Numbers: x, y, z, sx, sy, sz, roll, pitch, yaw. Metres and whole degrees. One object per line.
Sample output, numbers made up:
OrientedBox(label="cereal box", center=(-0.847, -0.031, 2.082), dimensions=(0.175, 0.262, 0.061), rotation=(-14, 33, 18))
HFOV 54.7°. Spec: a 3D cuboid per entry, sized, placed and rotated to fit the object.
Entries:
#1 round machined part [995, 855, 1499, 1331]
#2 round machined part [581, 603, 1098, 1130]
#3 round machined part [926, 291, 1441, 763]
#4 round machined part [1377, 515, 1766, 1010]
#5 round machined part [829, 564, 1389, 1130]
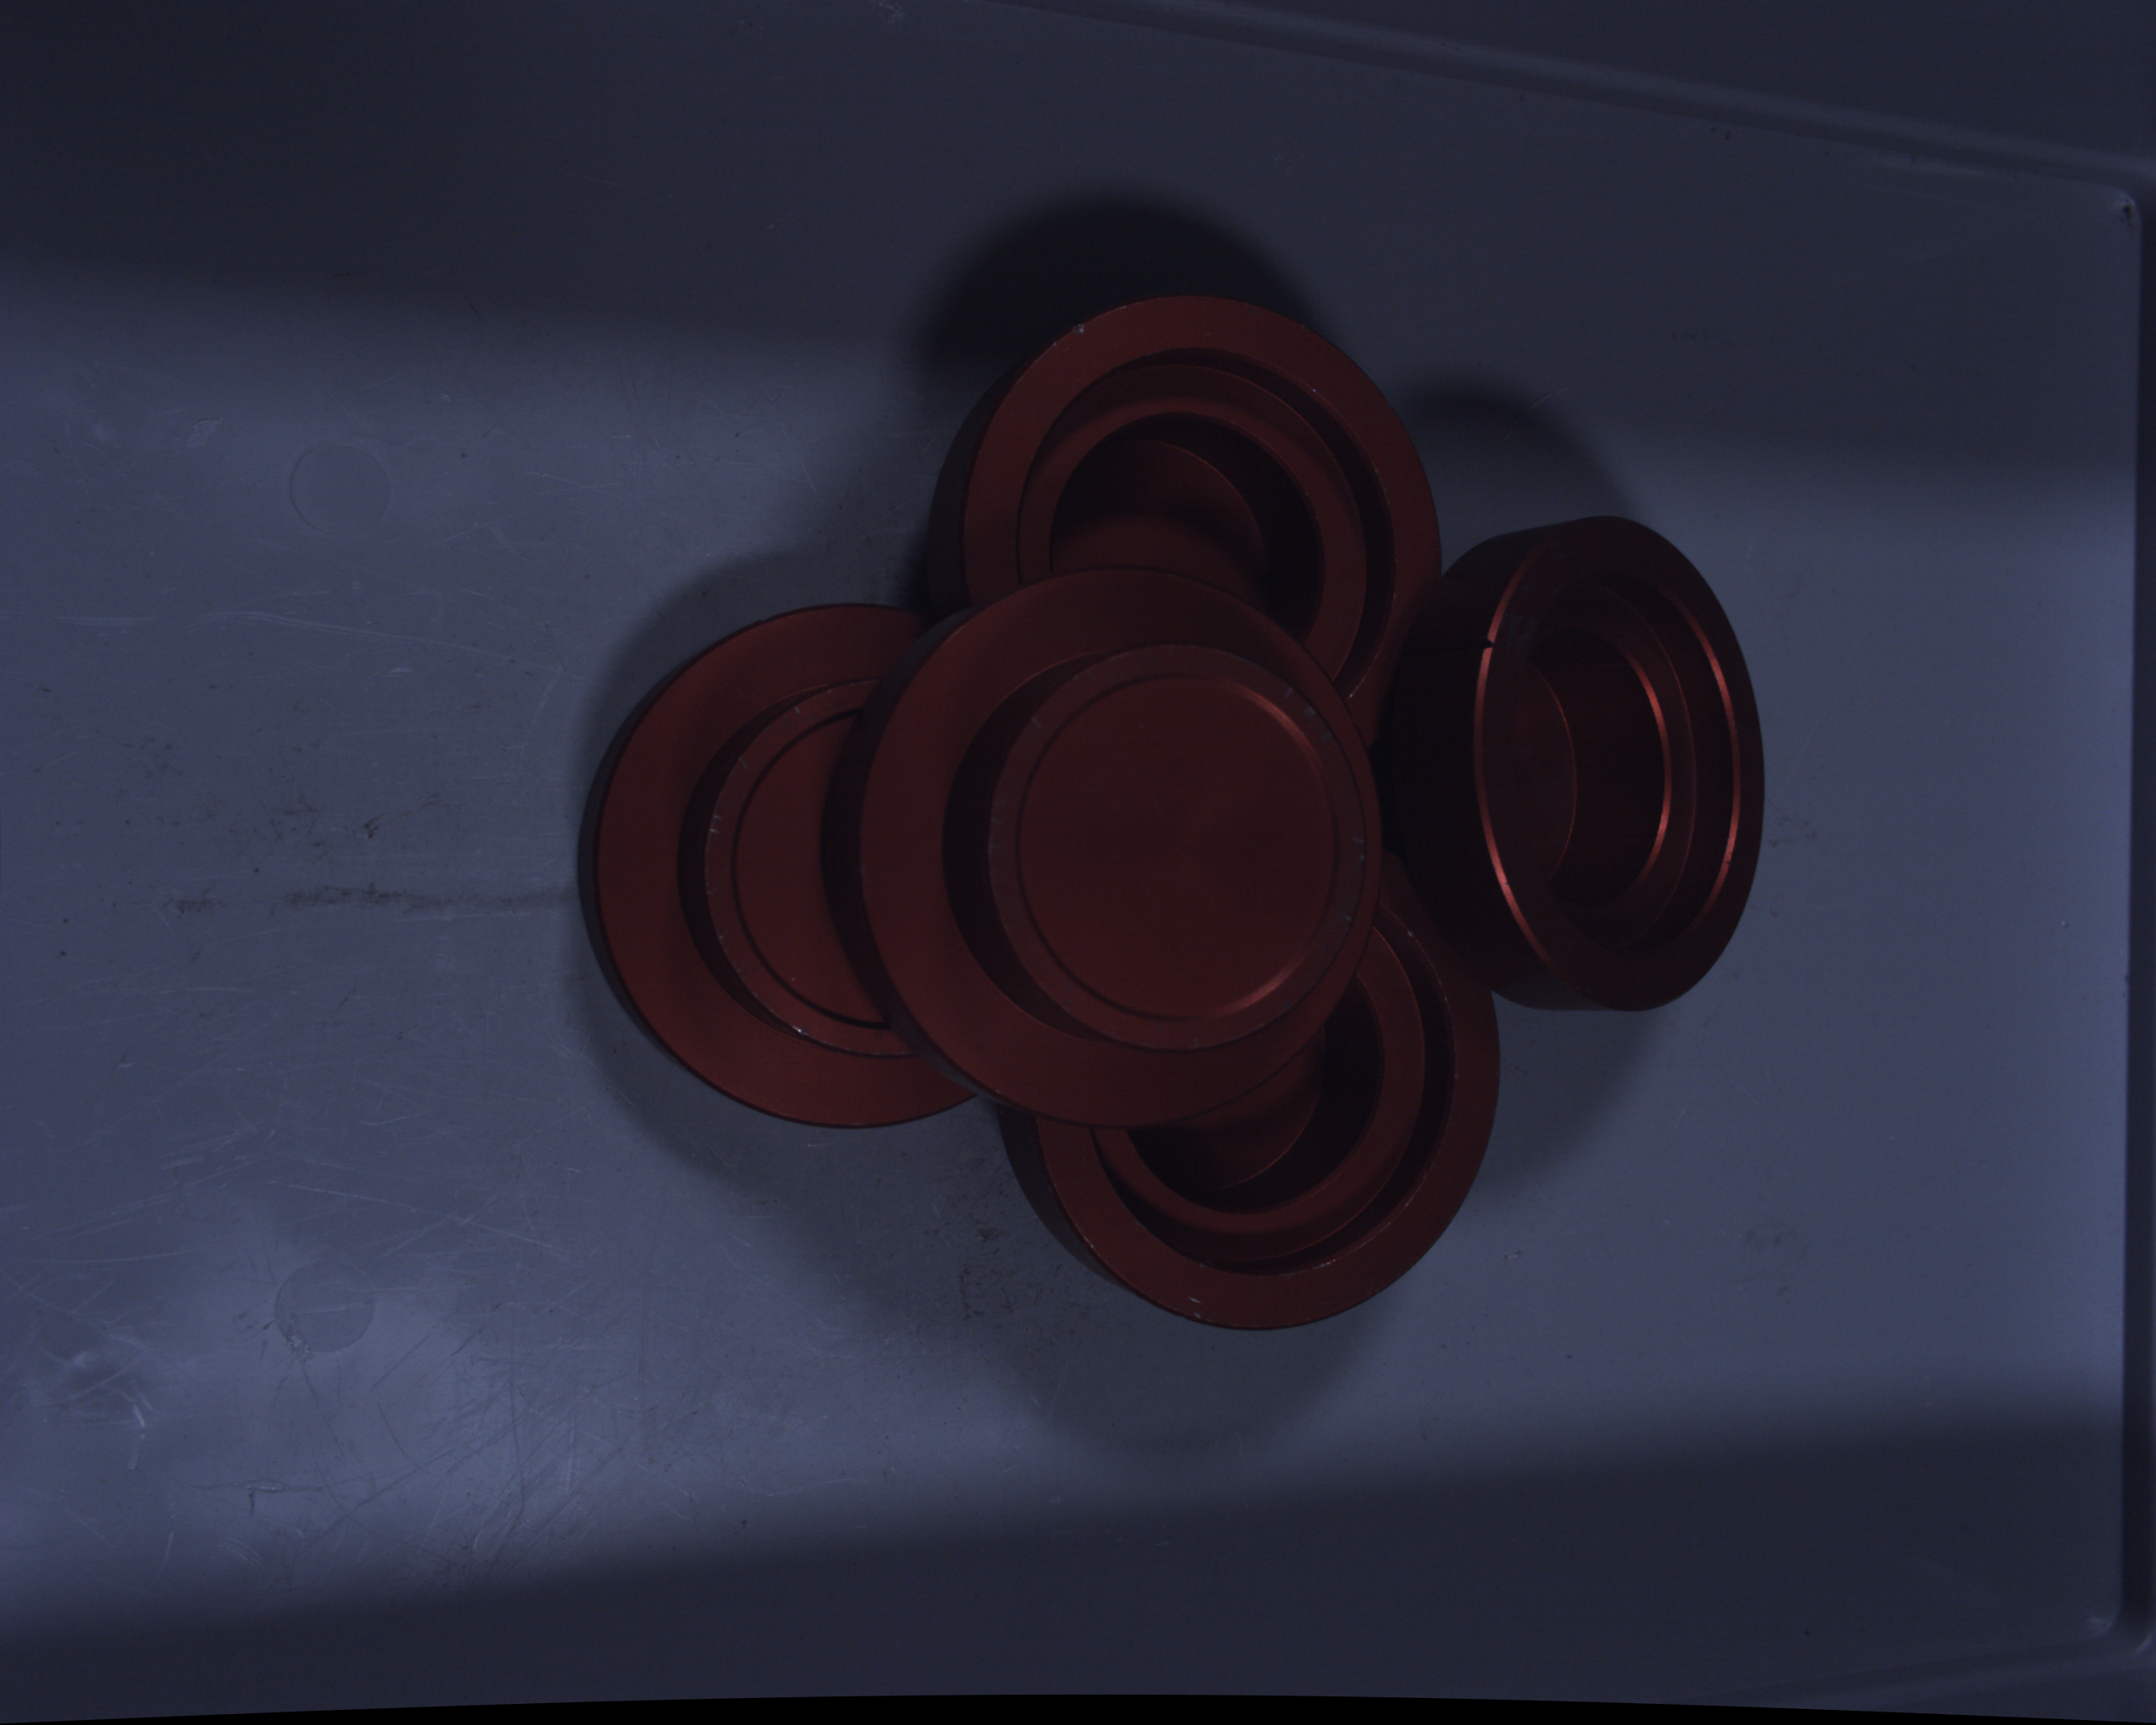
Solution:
OrientedBox(label="round machined part", center=(0.030, 0.039, 0.412), dimensions=(0.099, 0.042, 0.097), rotation=(0, 90, -21))
OrientedBox(label="round machined part", center=(-0.039, 0.001, 0.384), dimensions=(0.099, 0.042, 0.097), rotation=(0, 90, -21))
OrientedBox(label="round machined part", center=(0.017, -0.058, 0.407), dimensions=(0.099, 0.042, 0.097), rotation=(0, 90, -21))
OrientedBox(label="round machined part", center=(0.095, -0.019, 0.425), dimensions=(0.099, 0.042, 0.097), rotation=(3, 86, -41))
OrientedBox(label="round machined part", center=(0.010, -0.003, 0.358), dimensions=(0.099, 0.042, 0.097), rotation=(0, 90, -21))
